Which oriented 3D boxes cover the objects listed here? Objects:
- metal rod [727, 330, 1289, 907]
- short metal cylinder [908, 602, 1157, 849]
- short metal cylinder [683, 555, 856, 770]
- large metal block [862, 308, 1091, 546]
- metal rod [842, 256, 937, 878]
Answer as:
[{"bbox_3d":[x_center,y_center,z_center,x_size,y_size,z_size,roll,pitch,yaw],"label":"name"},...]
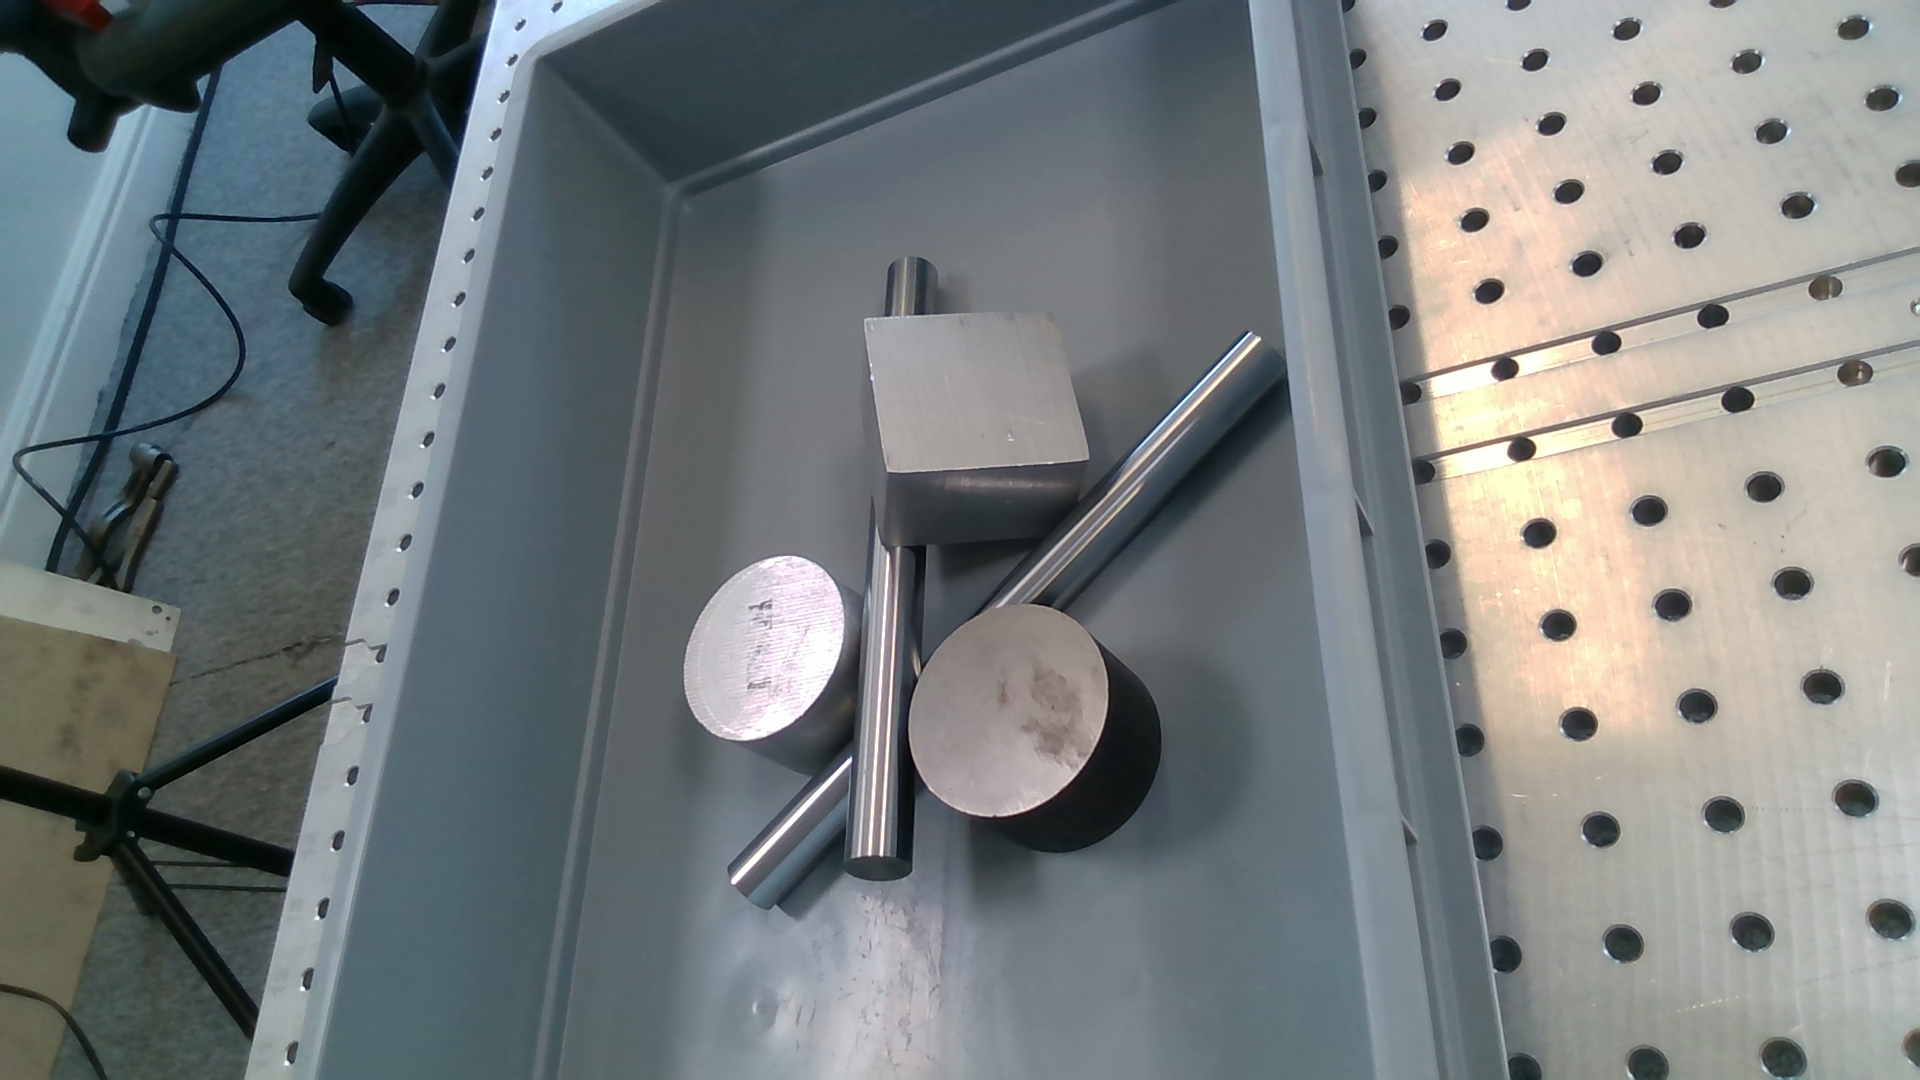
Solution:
[{"bbox_3d":[0.018,0.033,0.556,0.300,0.025,0.025,-46,51,3],"label":"metal rod"},{"bbox_3d":[0.028,0.070,0.515,0.080,0.050,0.080,-14,59,25],"label":"short metal cylinder"},{"bbox_3d":[-0.069,0.053,0.583,0.080,0.050,0.080,-14,59,25],"label":"short metal cylinder"},{"bbox_3d":[0.003,-0.047,0.568,0.080,0.050,0.080,-4,57,-10],"label":"large metal block"},{"bbox_3d":[-0.027,-0.005,0.582,0.025,0.025,0.299,-16,52,24],"label":"metal rod"}]
